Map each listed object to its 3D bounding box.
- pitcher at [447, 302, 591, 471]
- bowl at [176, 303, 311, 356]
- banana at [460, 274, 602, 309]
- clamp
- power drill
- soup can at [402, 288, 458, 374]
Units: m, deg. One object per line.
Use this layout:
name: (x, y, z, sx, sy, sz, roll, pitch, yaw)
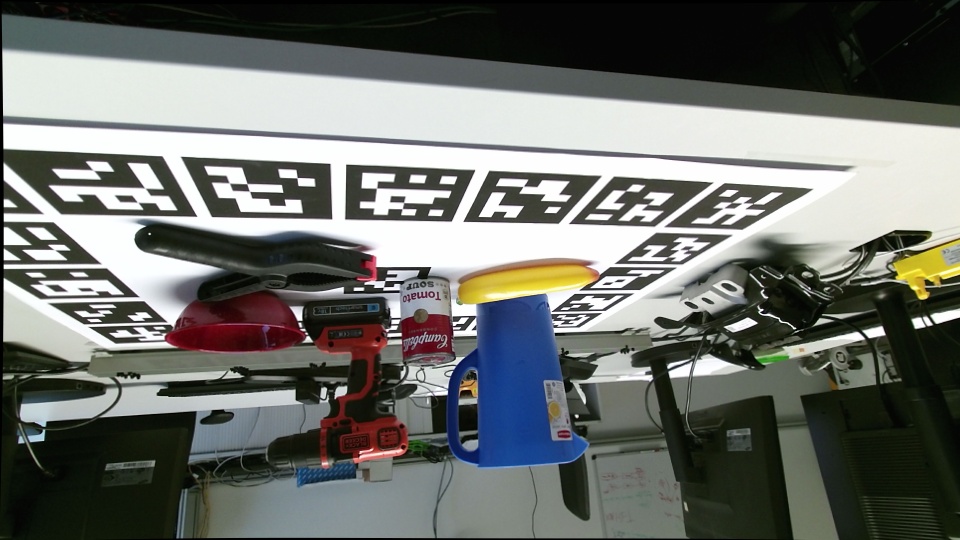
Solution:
pitcher: (0.043, 0.168, 0.756, 0.189, 0.241, 0.133, -10, 161, 6)
bowl: (-0.296, 0.076, 0.670, 0.162, 0.055, 0.162, -7, 157, -3)
banana: (0.063, 0.028, 0.696, 0.198, 0.038, 0.074, -9, 166, 8)
clamp: (-0.198, 0.010, 0.549, 0.204, 0.036, 0.165, -1, 153, -14)
power drill: (-0.196, 0.175, 0.721, 0.185, 0.186, 0.057, -2, 157, -12)
soup can: (-0.065, 0.079, 0.693, 0.068, 0.101, 0.068, -5, 166, -1)
